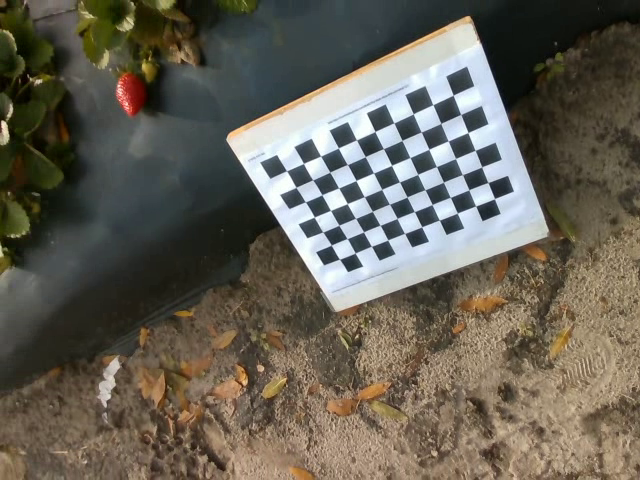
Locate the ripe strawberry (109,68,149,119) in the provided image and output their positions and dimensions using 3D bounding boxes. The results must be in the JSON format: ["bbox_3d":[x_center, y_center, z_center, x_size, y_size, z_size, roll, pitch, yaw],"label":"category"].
[{"bbox_3d":[-0.224,-0.165,0.764,0.045,0.058,0.050,-19,-19,17],"label":"ripe strawberry"}]
